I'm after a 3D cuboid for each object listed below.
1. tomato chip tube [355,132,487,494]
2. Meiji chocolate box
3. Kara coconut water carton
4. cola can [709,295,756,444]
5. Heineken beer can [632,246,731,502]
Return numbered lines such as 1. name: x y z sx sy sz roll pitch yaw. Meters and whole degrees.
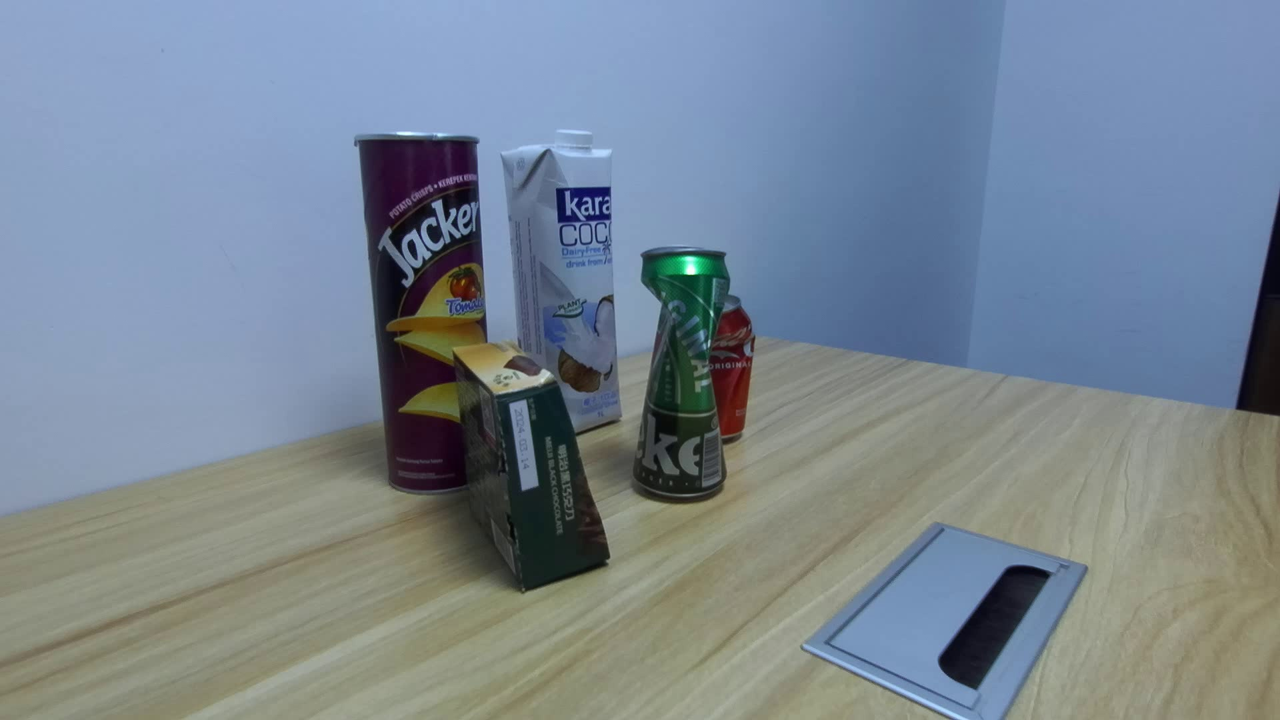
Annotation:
1. tomato chip tube: -0.143 -0.031 0.491 0.080 0.234 0.076 -9 15 -30
2. Meiji chocolate box: -0.064 0.053 0.406 0.058 0.111 0.113 -12 16 -23
3. Kara coconut water carton: -0.063 -0.063 0.591 0.075 0.245 0.077 10 17 44
4. cola can: 0.056 0.005 0.579 0.072 0.117 0.065 -1 14 -1
5. Heineken beer can: 0.027 0.009 0.471 0.066 0.164 0.078 7 11 30
